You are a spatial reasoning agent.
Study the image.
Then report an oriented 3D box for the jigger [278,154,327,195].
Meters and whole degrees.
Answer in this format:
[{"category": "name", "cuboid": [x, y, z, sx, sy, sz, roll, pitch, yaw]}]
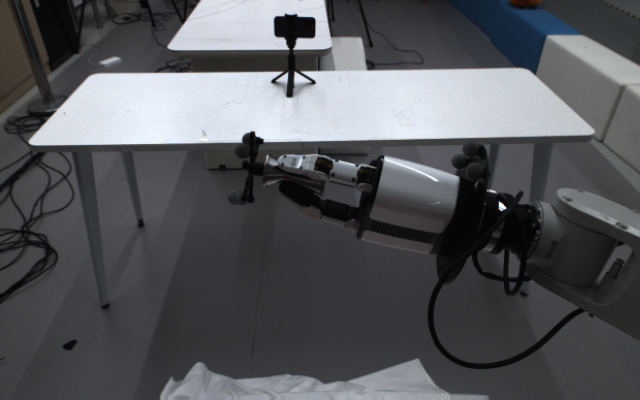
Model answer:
[{"category": "jigger", "cuboid": [-0.020, -0.032, 0.550, 0.071, 0.043, 0.043, 8, 35, 2]}]
